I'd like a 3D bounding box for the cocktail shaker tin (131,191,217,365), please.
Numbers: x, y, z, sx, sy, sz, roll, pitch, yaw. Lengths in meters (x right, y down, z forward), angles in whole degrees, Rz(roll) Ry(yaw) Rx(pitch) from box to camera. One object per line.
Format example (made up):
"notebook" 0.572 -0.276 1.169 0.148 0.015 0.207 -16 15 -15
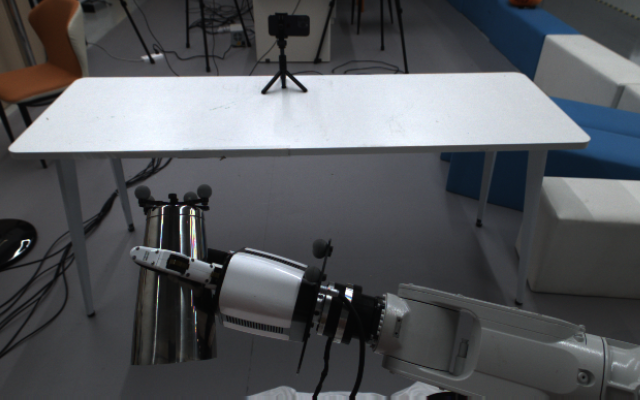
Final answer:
"cocktail shaker tin" -0.166 0.097 0.556 0.093 0.093 0.170 -3 76 -7
